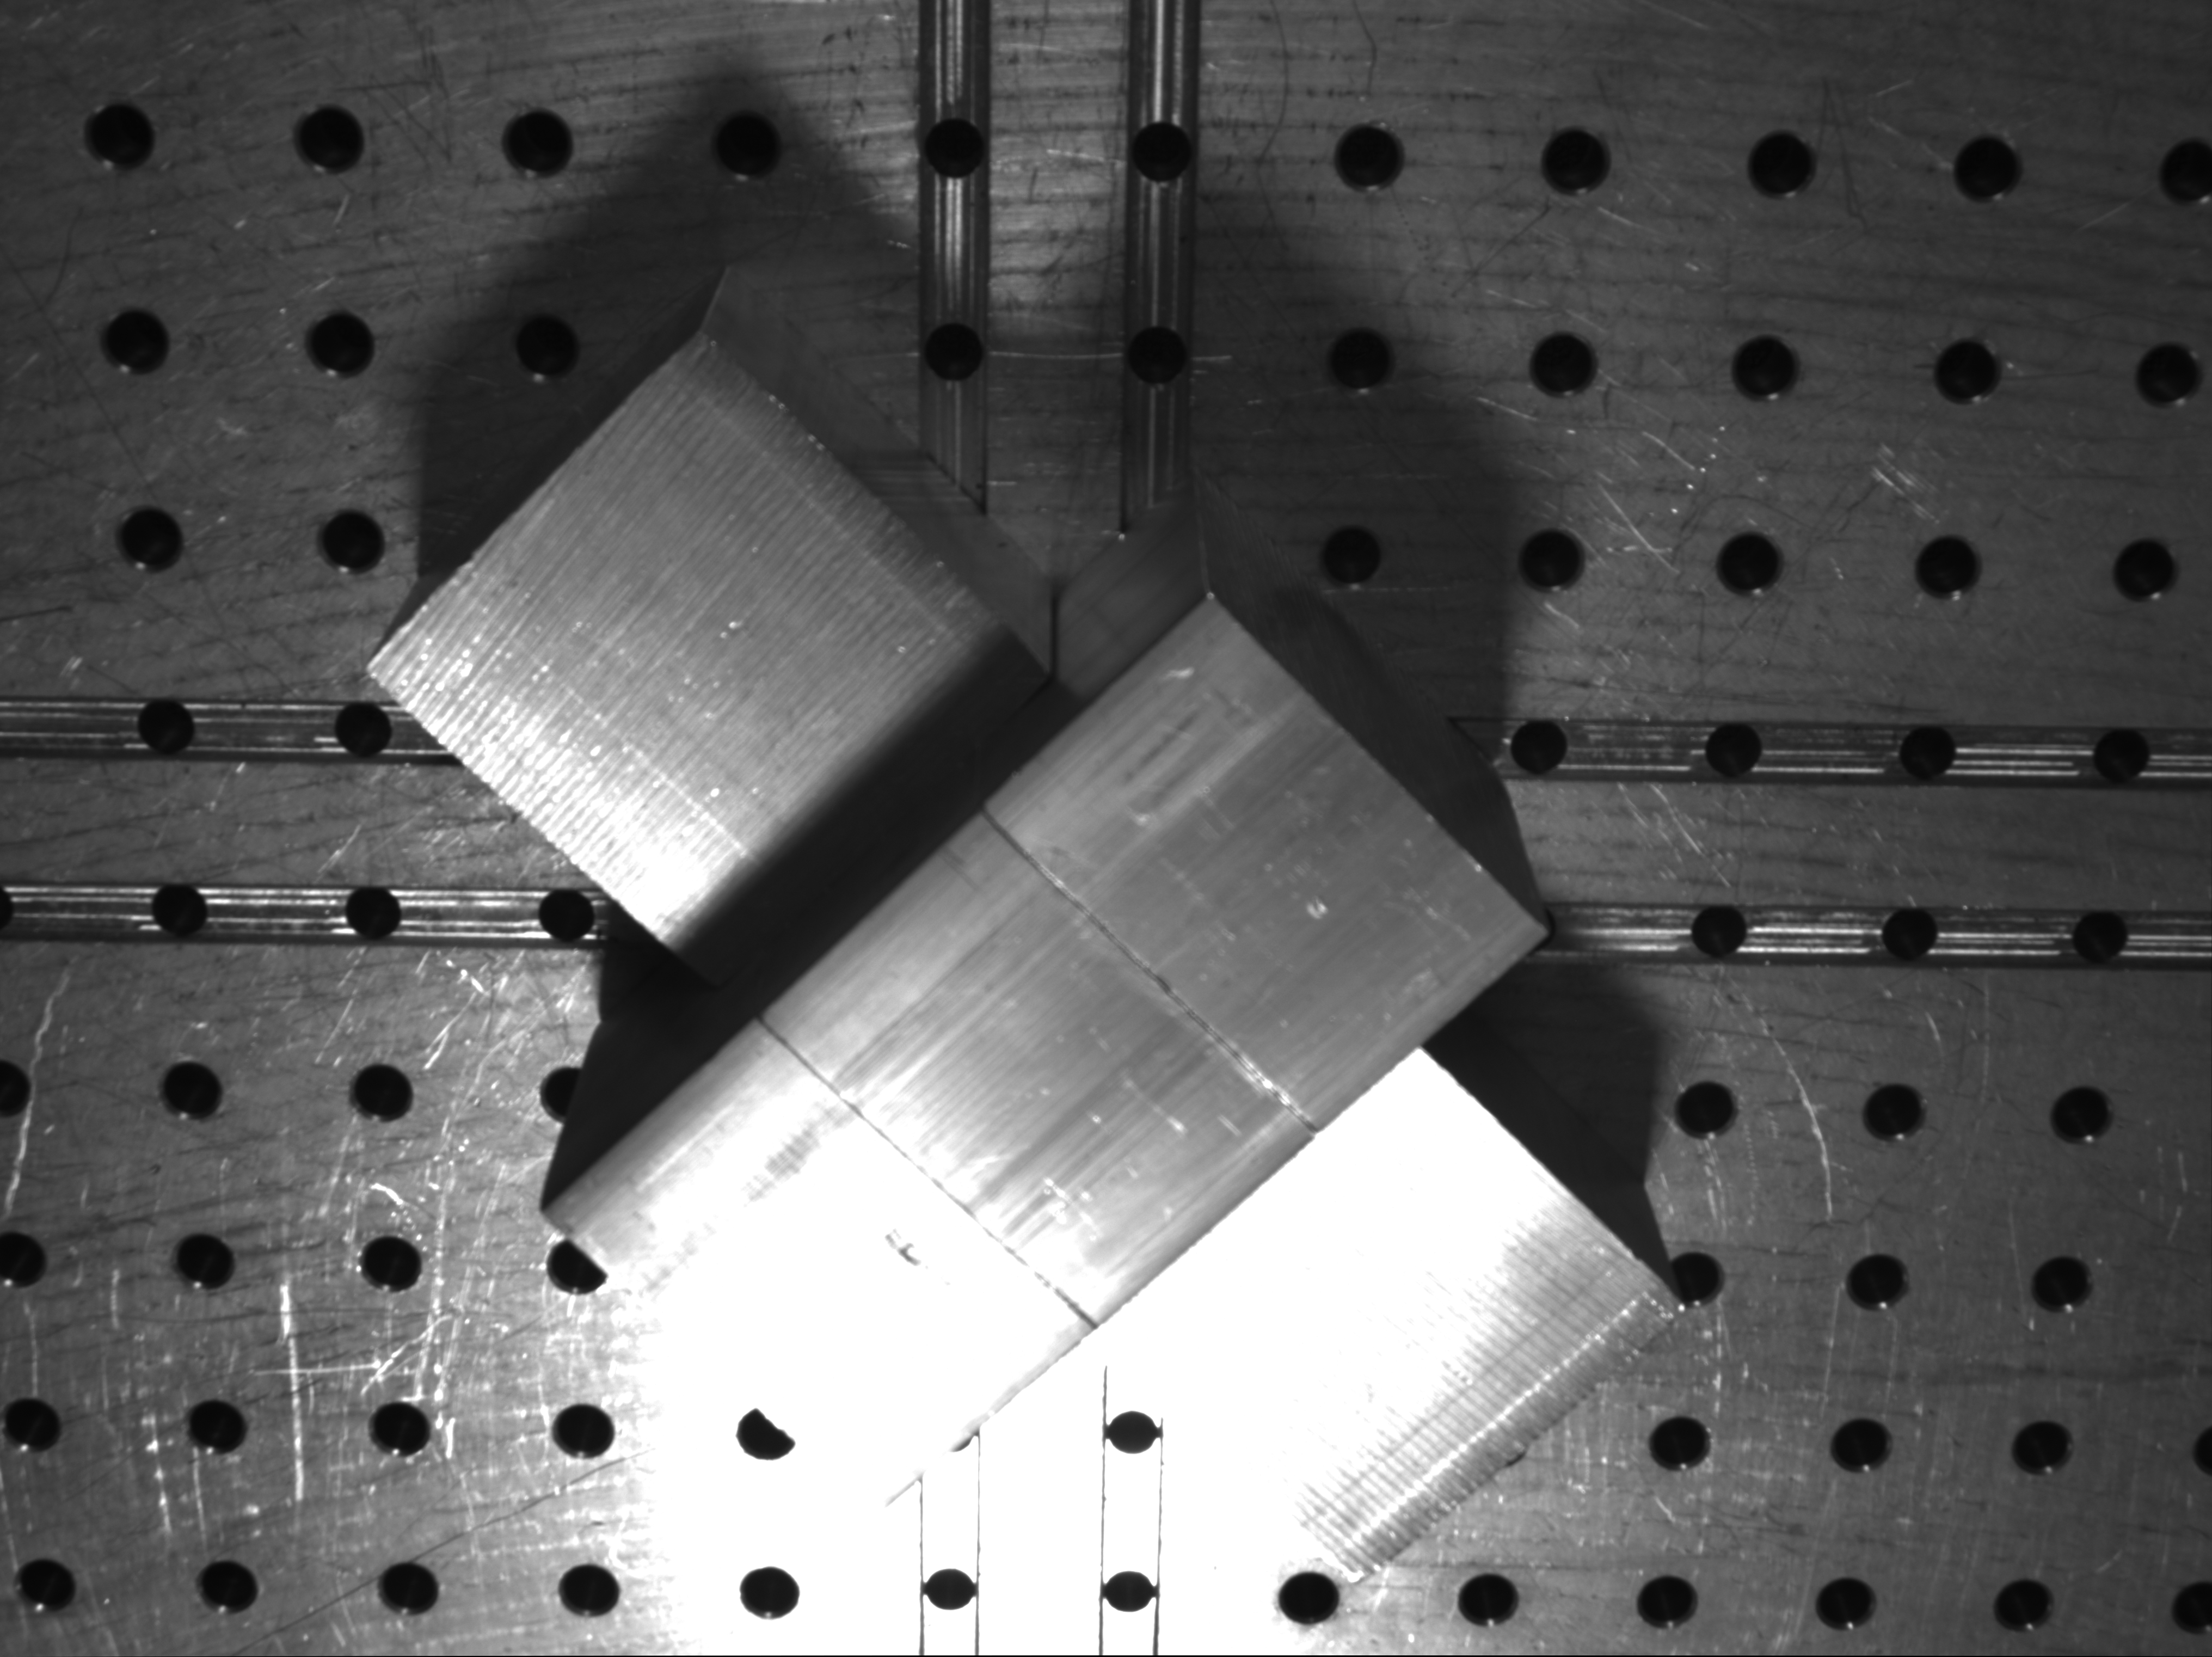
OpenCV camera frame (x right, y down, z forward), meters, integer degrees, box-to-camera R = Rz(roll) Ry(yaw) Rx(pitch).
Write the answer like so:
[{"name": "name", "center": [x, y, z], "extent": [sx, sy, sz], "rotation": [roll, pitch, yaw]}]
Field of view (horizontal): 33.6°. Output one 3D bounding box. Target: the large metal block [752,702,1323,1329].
[{"name": "large metal block", "center": [-0.011, 0.026, 0.626], "extent": [0.050, 0.080, 0.080], "rotation": [-42, 105, 13]}]

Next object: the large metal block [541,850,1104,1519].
[{"name": "large metal block", "center": [-0.046, 0.059, 0.638], "extent": [0.050, 0.080, 0.080], "rotation": [-42, 105, 13]}]

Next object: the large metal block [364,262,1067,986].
[{"name": "large metal block", "center": [-0.063, -0.034, 0.616], "extent": [0.080, 0.050, 0.080], "rotation": [43, 105, -14]}]

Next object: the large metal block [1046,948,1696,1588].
[{"name": "large metal block", "center": [0.046, 0.074, 0.660], "extent": [0.080, 0.050, 0.080], "rotation": [-42, 105, 14]}]

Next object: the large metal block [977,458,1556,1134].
[{"name": "large metal block", "center": [0.025, -0.007, 0.614], "extent": [0.050, 0.080, 0.080], "rotation": [-42, 105, 13]}]
